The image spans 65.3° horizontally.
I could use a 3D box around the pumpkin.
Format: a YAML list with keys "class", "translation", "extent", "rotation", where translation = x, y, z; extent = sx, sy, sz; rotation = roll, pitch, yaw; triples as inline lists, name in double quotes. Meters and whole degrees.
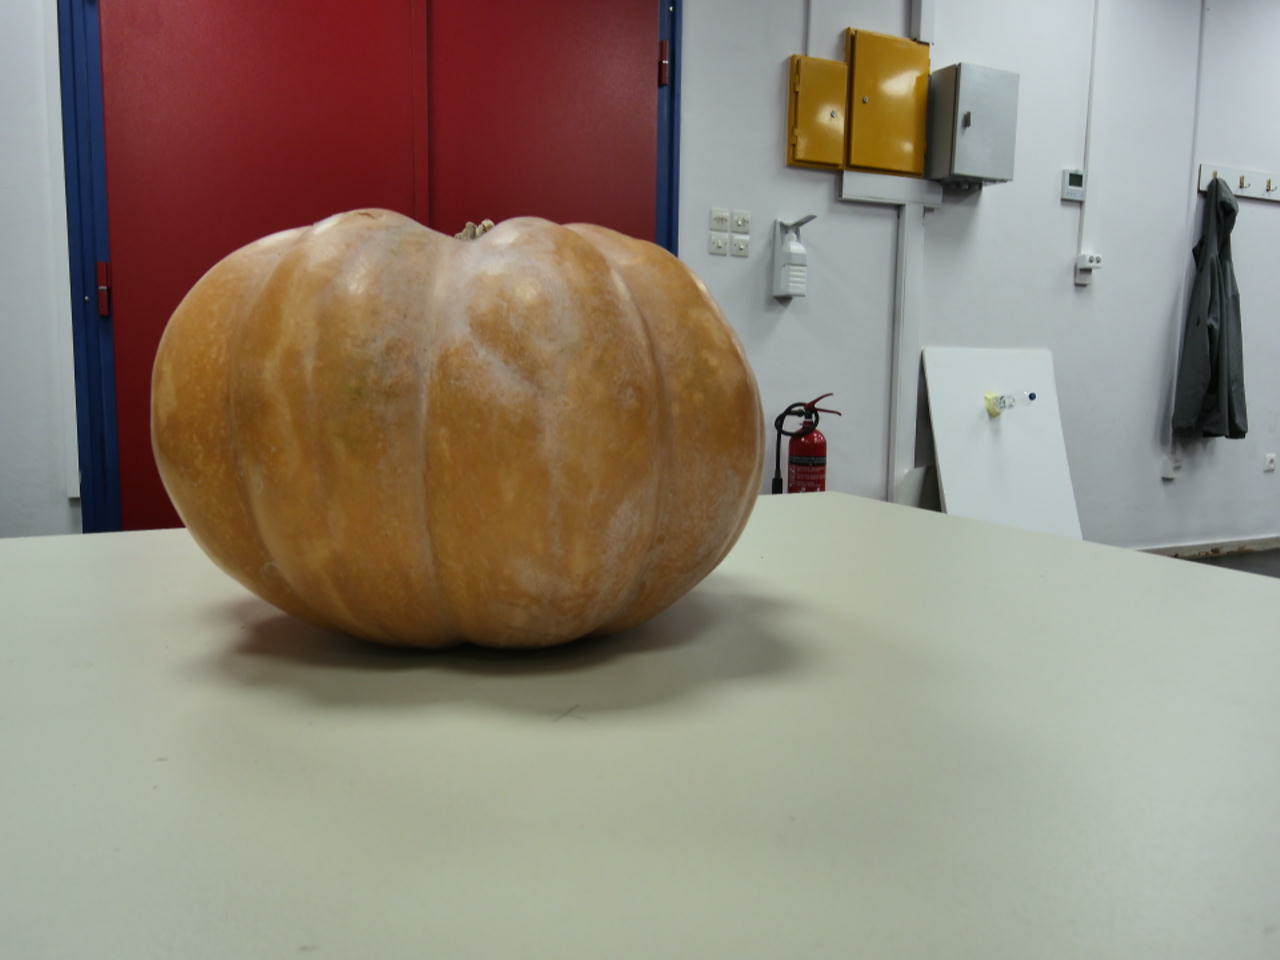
- class: "pumpkin"
  translation: [-0.073, -0.024, 0.447]
  extent: [0.277, 0.181, 0.277]
  rotation: [0, 5, 0]
